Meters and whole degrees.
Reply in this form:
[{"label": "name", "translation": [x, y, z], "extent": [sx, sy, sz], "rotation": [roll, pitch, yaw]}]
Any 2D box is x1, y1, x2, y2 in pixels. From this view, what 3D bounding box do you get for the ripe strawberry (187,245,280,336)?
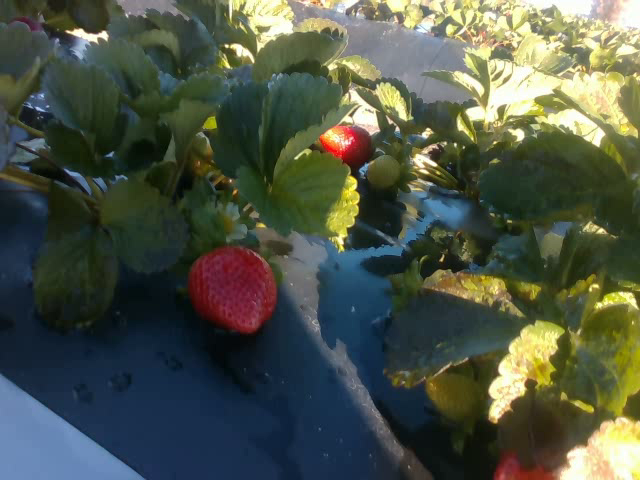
[{"label": "ripe strawberry", "translation": [-0.038, 0.024, 0.260], "extent": [0.045, 0.042, 0.059], "rotation": [-29, 41, 4]}]
